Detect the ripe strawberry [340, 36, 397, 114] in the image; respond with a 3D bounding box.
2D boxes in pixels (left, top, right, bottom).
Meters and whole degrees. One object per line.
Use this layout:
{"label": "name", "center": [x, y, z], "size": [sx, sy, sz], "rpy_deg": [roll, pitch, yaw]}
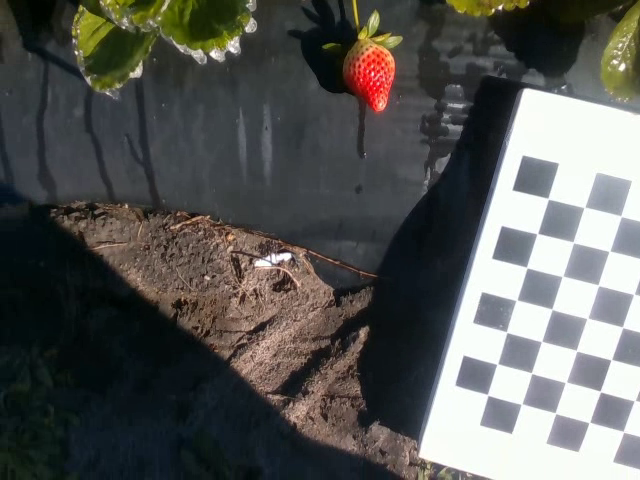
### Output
{"label": "ripe strawberry", "center": [0.035, -0.106, 0.374], "size": [0.039, 0.053, 0.040], "rpy_deg": [-8, -8, 9]}
